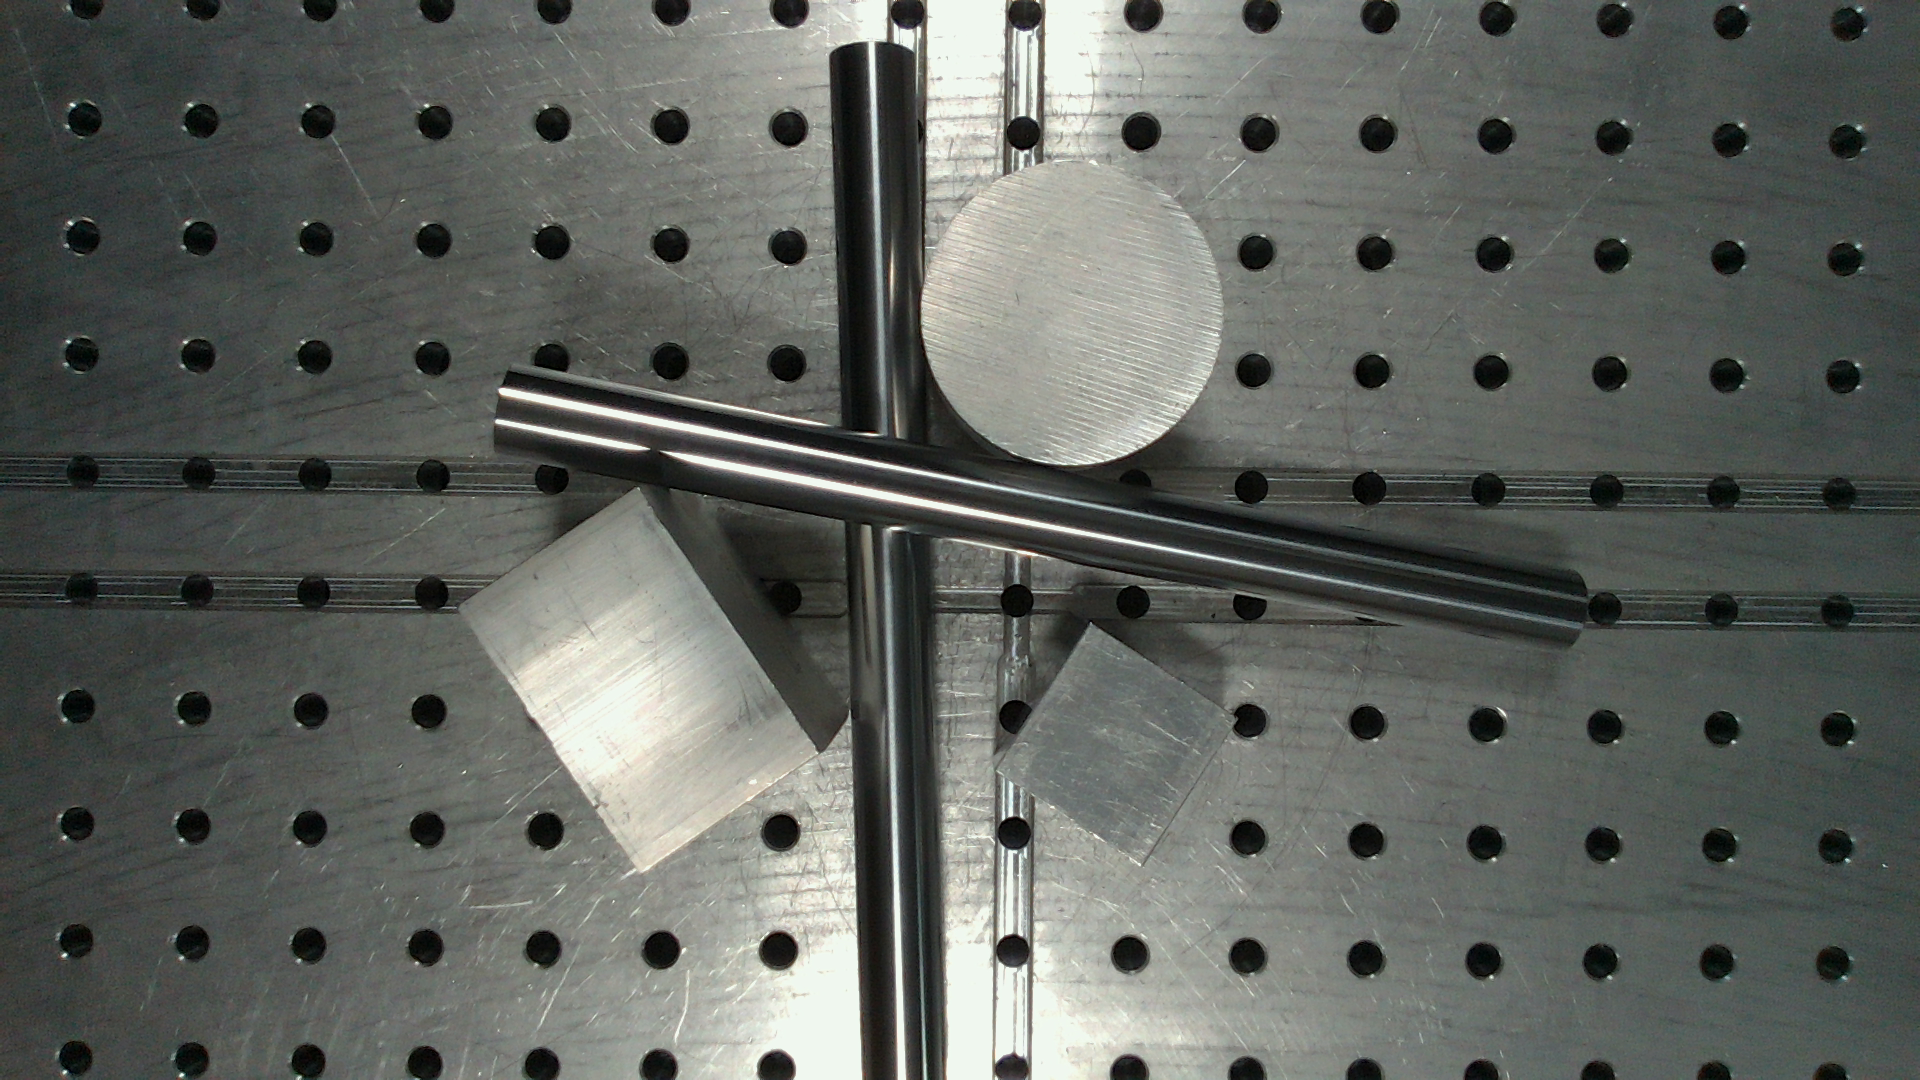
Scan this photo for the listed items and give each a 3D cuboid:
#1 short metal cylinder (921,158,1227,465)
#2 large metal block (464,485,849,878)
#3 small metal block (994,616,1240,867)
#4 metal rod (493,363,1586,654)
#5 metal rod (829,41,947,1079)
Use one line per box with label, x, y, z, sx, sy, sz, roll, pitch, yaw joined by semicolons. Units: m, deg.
short metal cylinder;0.030;-0.060;0.385;0.080;0.050;0.080;0;90;0
large metal block;-0.075;0.034;0.369;0.050;0.080;0.080;-35;90;0
small metal block;0.044;0.057;0.399;0.050;0.025;0.050;33;90;0
metal rod;0.028;-0.007;0.379;0.300;0.025;0.025;11;90;-8
metal rod;-0.021;0.010;0.398;0.025;0.025;0.300;-2;90;0
